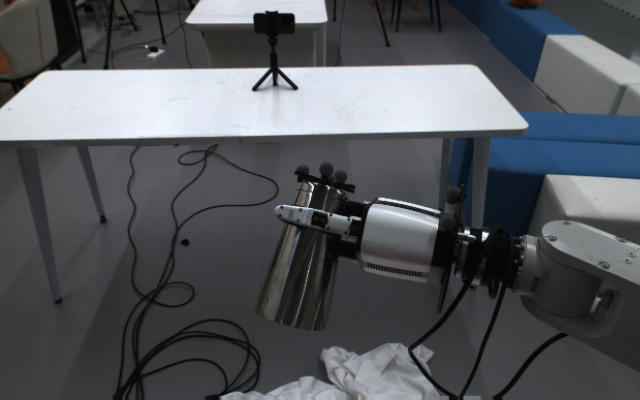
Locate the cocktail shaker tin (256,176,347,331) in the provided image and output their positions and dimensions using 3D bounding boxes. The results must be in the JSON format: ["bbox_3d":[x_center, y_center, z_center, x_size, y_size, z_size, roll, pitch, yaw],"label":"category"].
[{"bbox_3d":[-0.014,0.066,0.612,0.093,0.170,0.093,15,-5,1],"label":"cocktail shaker tin"}]
